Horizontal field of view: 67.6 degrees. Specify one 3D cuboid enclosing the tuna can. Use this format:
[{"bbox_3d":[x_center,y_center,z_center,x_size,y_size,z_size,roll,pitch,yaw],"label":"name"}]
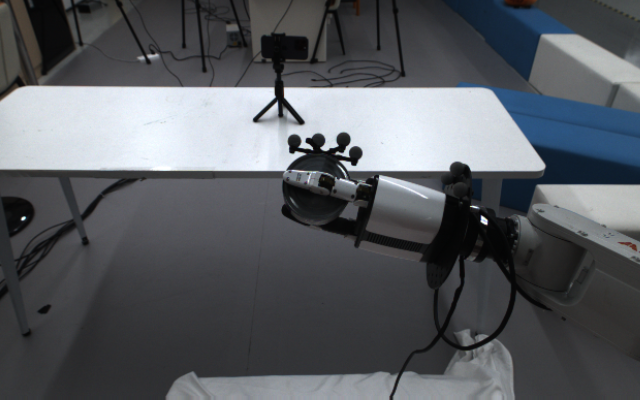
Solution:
[{"bbox_3d":[-0.004,-0.014,0.602,0.085,0.034,0.085,1,73,-3],"label":"tuna can"}]
